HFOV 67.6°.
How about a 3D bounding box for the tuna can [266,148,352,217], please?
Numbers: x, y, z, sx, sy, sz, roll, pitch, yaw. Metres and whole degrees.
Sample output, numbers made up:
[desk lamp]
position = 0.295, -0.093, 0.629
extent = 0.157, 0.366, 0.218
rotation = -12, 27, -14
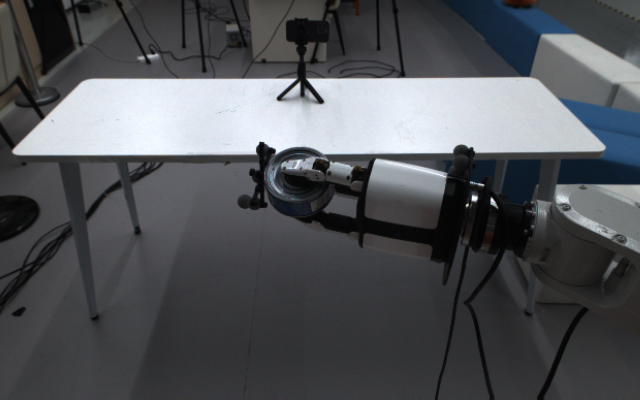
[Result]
[tuna can]
position = -0.022, -0.020, 0.591
extent = 0.085, 0.034, 0.085
rotation = -2, 58, 3
